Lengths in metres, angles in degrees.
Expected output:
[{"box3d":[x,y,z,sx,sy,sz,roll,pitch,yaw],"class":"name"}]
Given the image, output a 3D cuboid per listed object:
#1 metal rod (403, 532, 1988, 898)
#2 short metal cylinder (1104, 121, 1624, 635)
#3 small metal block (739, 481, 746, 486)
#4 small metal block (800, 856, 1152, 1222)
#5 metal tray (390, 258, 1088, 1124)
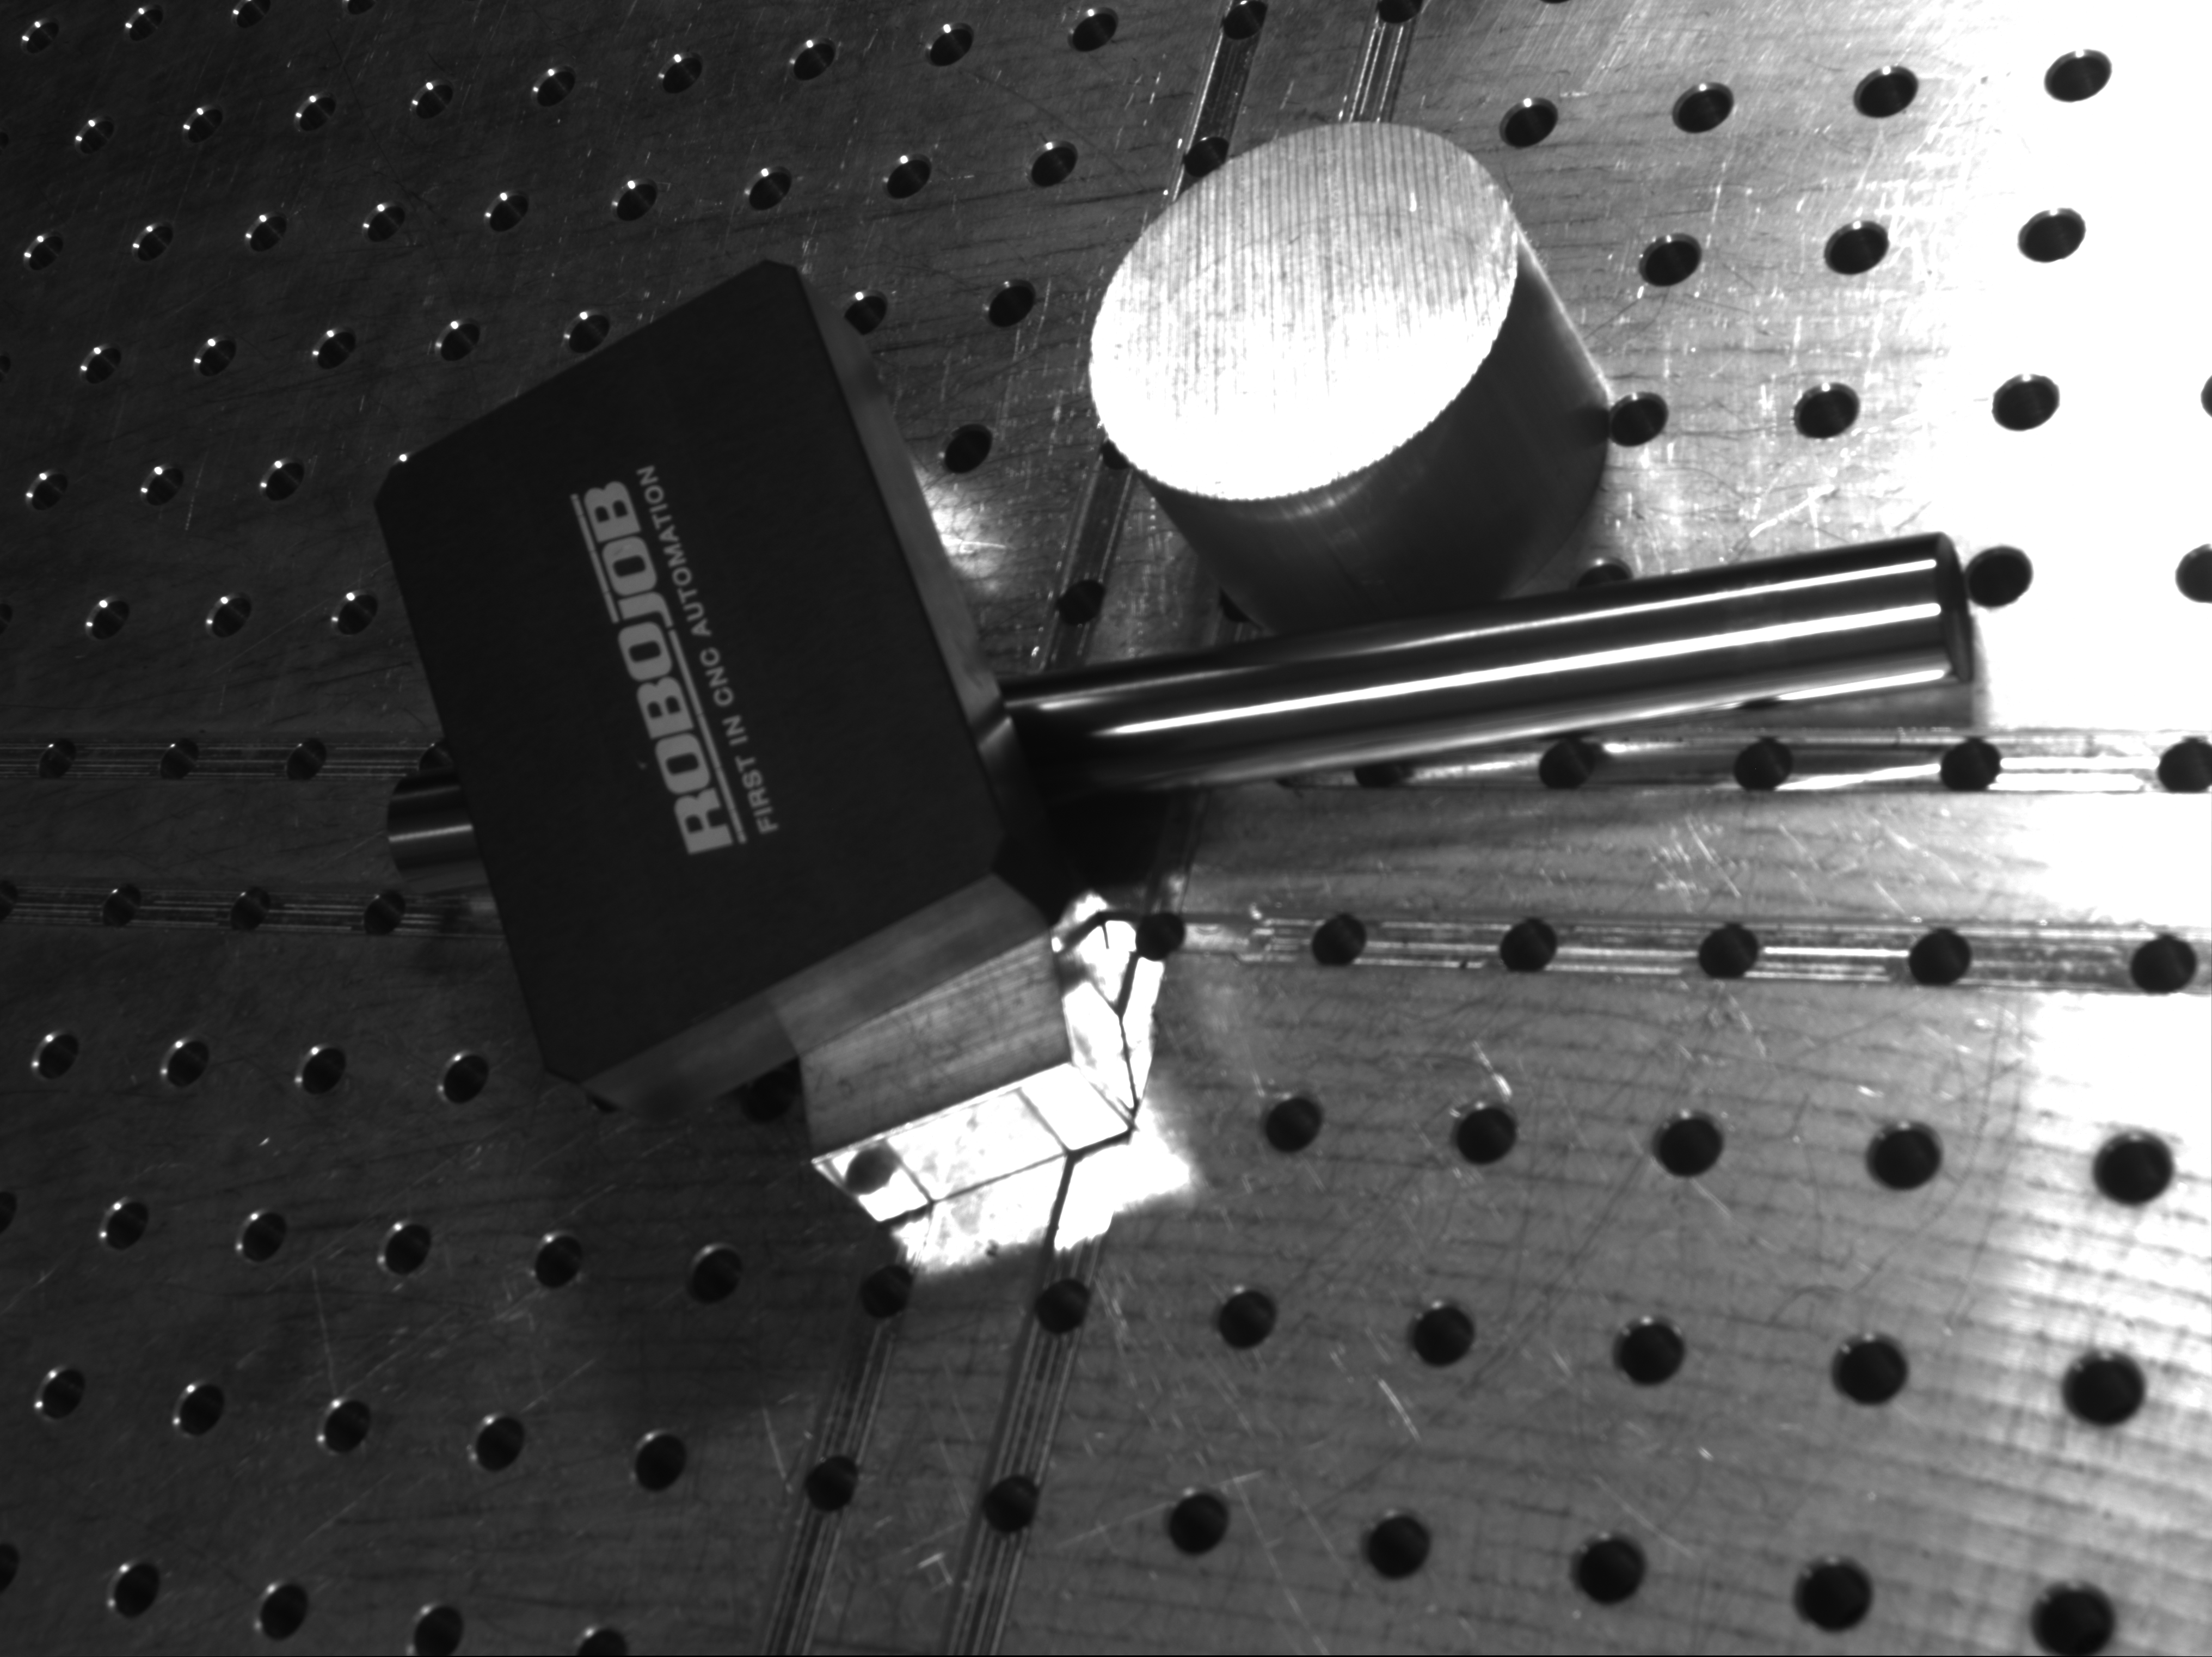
[{"box3d":[0.005,-0.017,0.655,0.299,0.025,0.025,-8,58,24],"class":"metal rod"},{"box3d":[0.046,-0.079,0.654,0.080,0.050,0.080,-13,56,21],"class":"short metal cylinder"},{"box3d":[-0.073,-0.069,0.713,0.050,0.050,0.025,-28,52,10],"class":"small metal block"},{"box3d":[-0.023,0.034,0.638,0.050,0.025,0.050,-21,53,16],"class":"small metal block"},{"box3d":[-0.067,-0.025,0.646,0.090,0.030,0.130,-27,63,12],"class":"metal tray"}]
